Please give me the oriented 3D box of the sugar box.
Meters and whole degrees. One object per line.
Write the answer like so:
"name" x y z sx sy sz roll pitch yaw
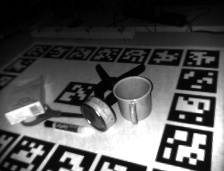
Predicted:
"sugar box" -0.248 0.032 0.641 0.093 0.046 0.174 -18 33 -6

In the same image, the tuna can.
"tuna can" -0.029 0.062 0.518 0.084 0.086 0.034 19 50 34

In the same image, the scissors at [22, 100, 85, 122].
"scissors" -0.155 0.068 0.597 0.201 0.016 0.087 -1 37 13

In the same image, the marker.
"marker" -0.127 0.101 0.553 0.120 0.020 0.019 2 43 20

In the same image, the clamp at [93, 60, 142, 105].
"clamp" 0.001 -0.008 0.649 0.164 0.037 0.202 -1 42 14

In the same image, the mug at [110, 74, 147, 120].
"mug" 0.046 0.037 0.535 0.093 0.082 0.116 -13 36 2
